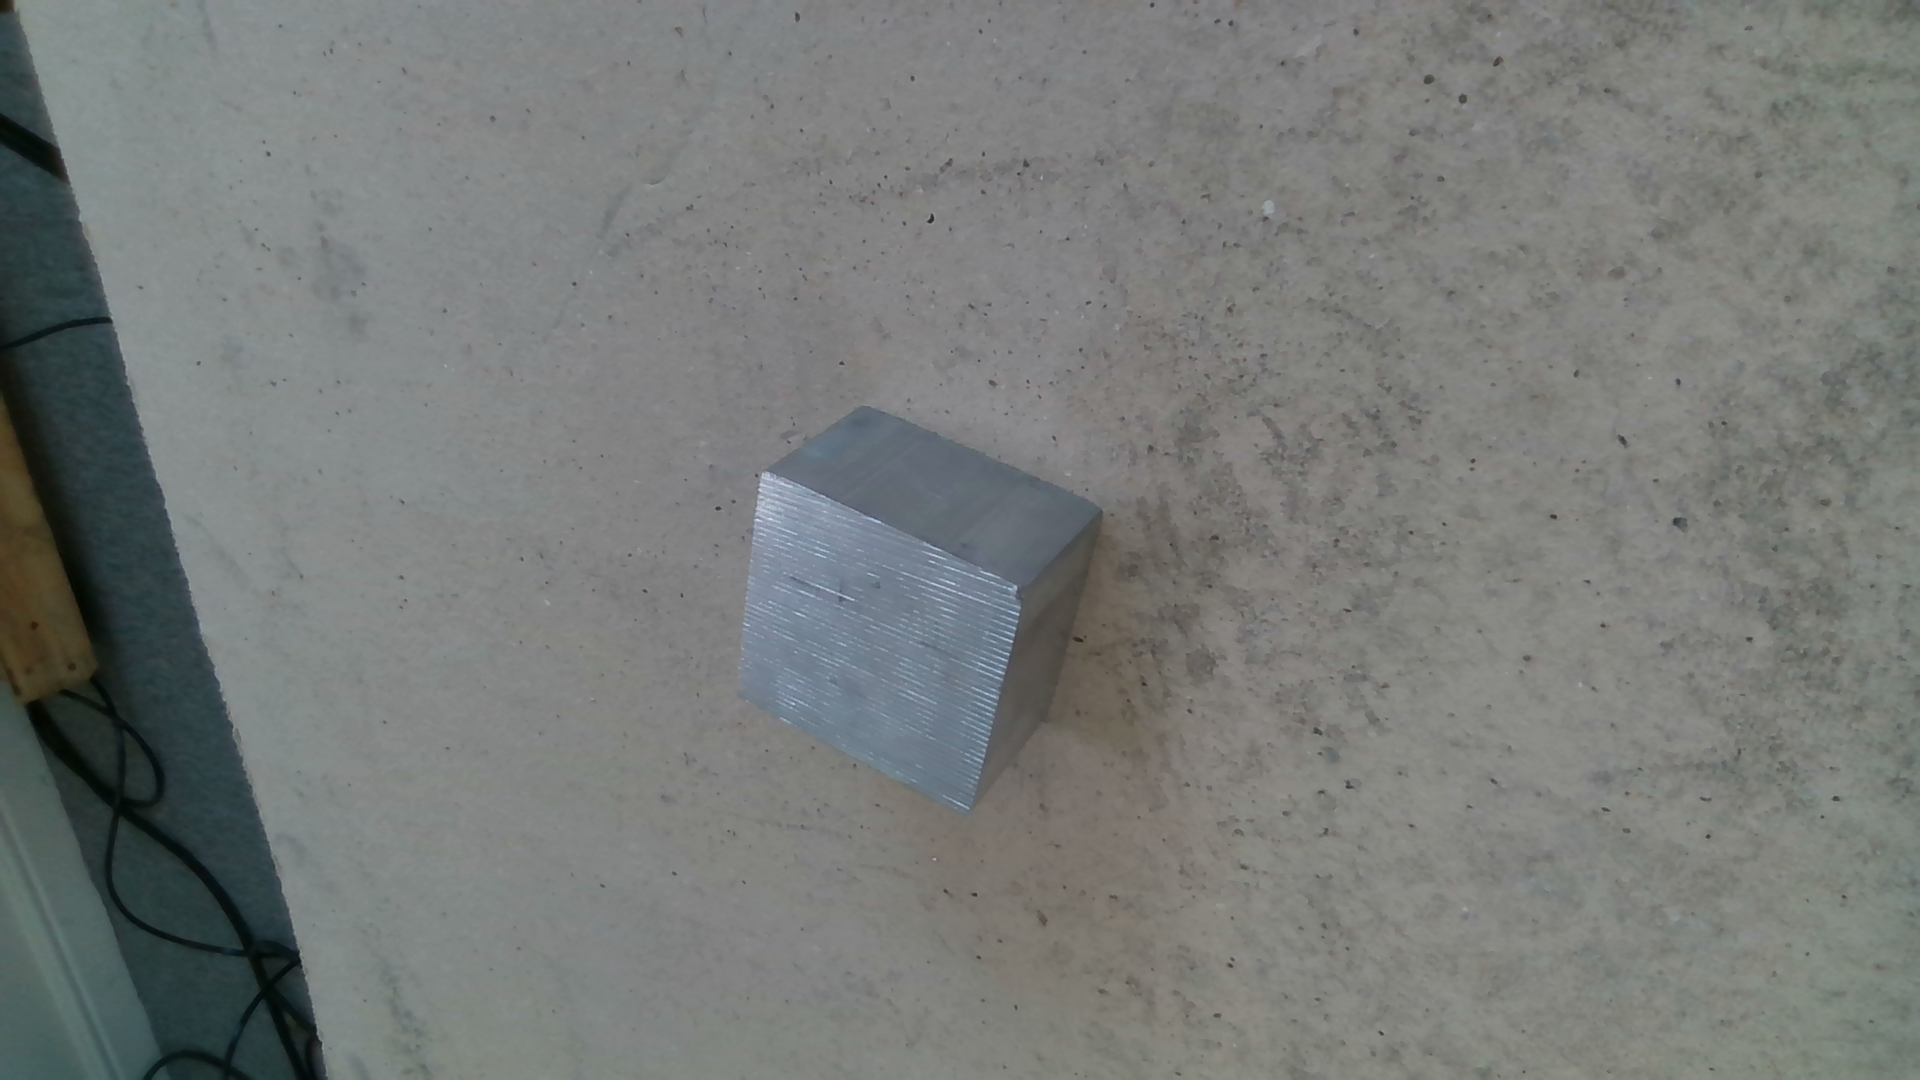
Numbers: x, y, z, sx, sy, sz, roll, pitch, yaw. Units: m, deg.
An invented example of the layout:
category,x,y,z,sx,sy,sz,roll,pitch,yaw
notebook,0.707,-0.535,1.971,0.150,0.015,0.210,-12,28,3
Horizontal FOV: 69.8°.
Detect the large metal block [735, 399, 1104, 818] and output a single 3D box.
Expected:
category,x,y,z,sx,sy,sz,roll,pitch,yaw
large metal block,-0.014,0.018,0.391,0.080,0.050,0.080,25,127,19
